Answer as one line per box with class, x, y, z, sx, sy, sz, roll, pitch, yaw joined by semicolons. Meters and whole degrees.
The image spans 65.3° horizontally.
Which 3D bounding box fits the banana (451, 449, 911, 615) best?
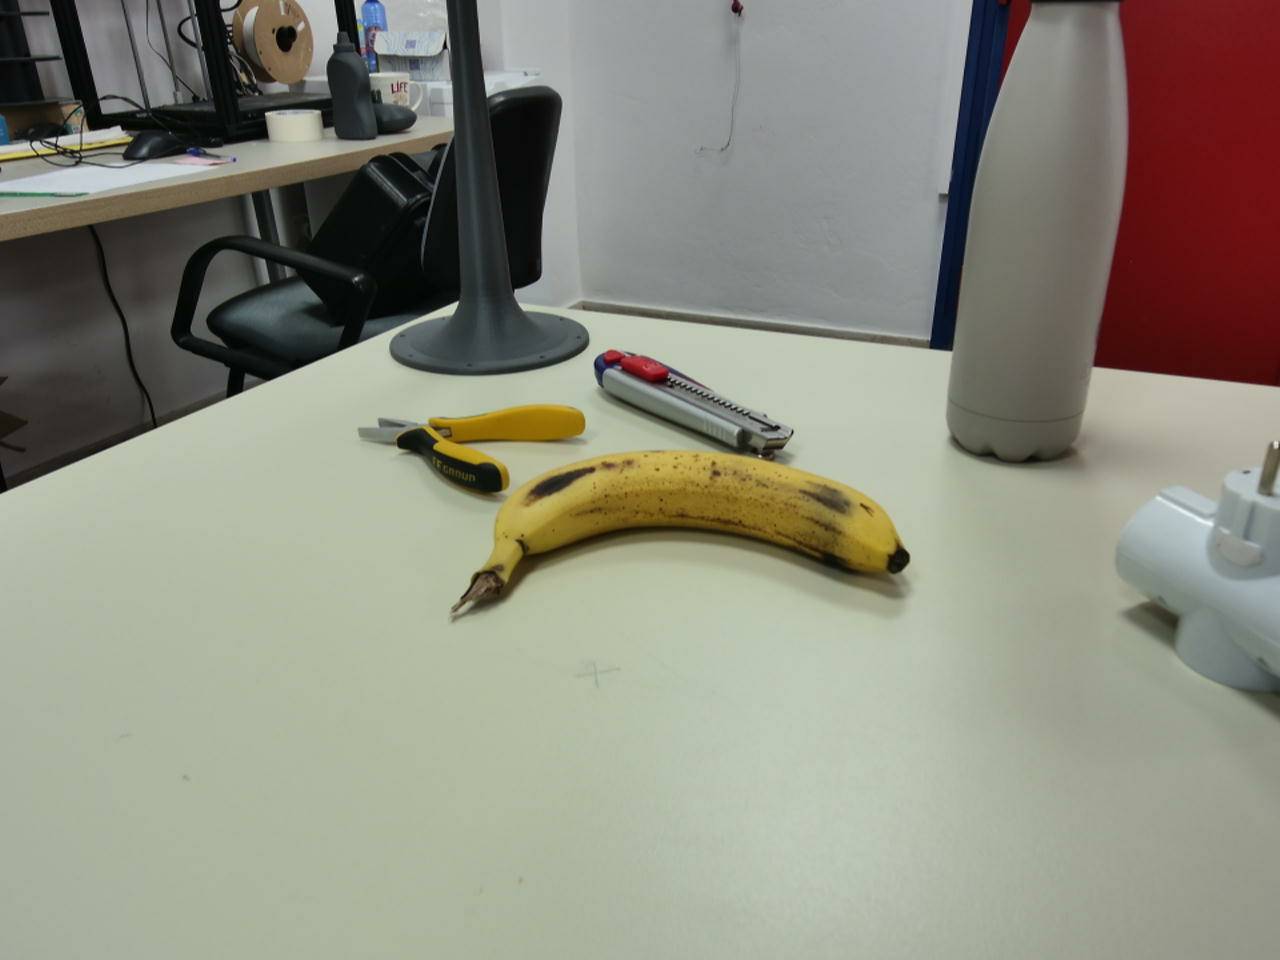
banana;0.018;0.017;0.451;0.186;0.038;0.097;-1;23;-1
